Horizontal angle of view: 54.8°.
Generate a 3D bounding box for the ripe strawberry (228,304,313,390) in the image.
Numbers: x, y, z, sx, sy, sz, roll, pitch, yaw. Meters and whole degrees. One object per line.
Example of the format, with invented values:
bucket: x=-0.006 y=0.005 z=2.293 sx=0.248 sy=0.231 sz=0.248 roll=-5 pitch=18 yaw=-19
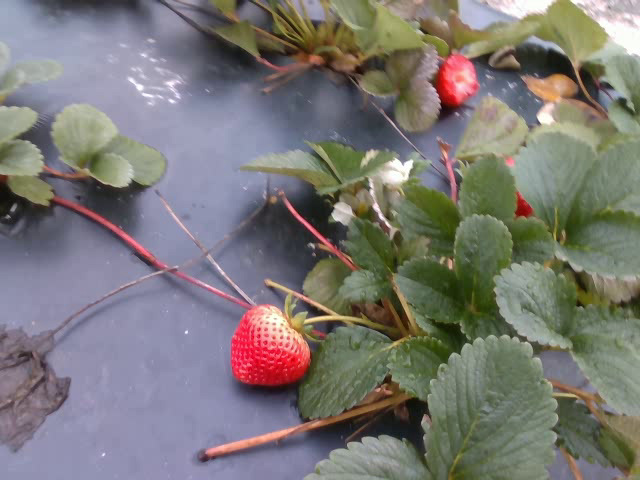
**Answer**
ripe strawberry: x=-0.040 y=0.073 z=0.420 sx=0.061 sy=0.065 sz=0.049 roll=40 pitch=-1 yaw=4
